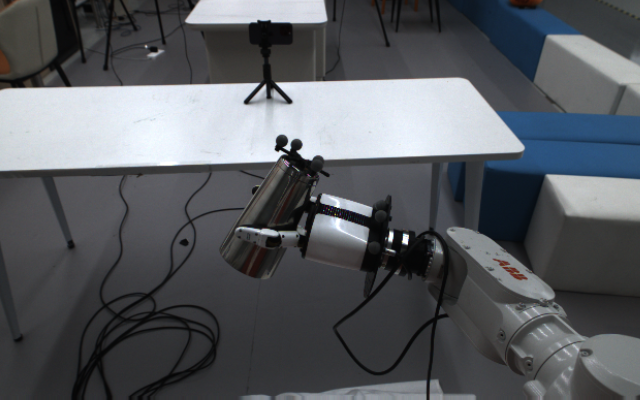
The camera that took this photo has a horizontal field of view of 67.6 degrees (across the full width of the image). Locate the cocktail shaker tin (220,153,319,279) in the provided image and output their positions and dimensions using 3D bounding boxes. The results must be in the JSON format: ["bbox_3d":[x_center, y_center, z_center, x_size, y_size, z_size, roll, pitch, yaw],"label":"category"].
[{"bbox_3d":[-0.069,0.020,0.718,0.093,0.170,0.093,28,14,-7],"label":"cocktail shaker tin"}]
